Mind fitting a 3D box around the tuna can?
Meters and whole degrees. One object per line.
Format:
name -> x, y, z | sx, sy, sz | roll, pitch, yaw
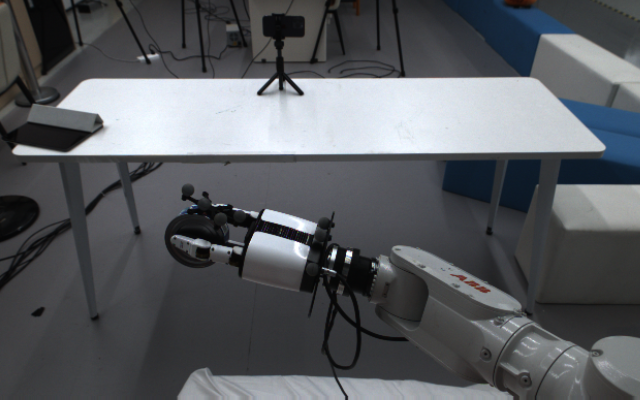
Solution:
tuna can -> -0.174, 0.054, 0.694 | 0.085, 0.085, 0.034 | 4, 19, 2
